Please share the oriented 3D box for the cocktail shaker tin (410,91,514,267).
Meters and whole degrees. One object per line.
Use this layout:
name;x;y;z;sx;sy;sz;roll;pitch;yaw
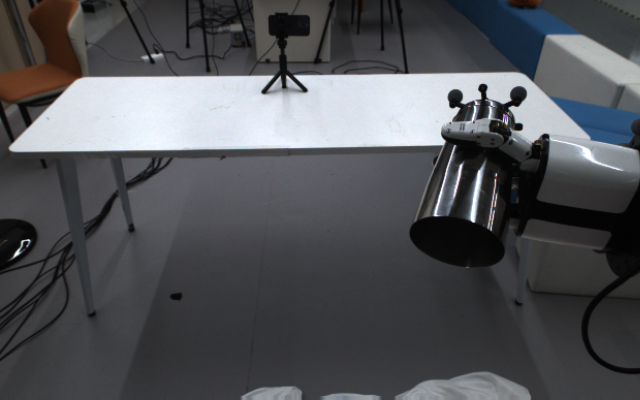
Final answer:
cocktail shaker tin;0.161;-0.026;0.512;0.093;0.093;0.170;14;57;16
